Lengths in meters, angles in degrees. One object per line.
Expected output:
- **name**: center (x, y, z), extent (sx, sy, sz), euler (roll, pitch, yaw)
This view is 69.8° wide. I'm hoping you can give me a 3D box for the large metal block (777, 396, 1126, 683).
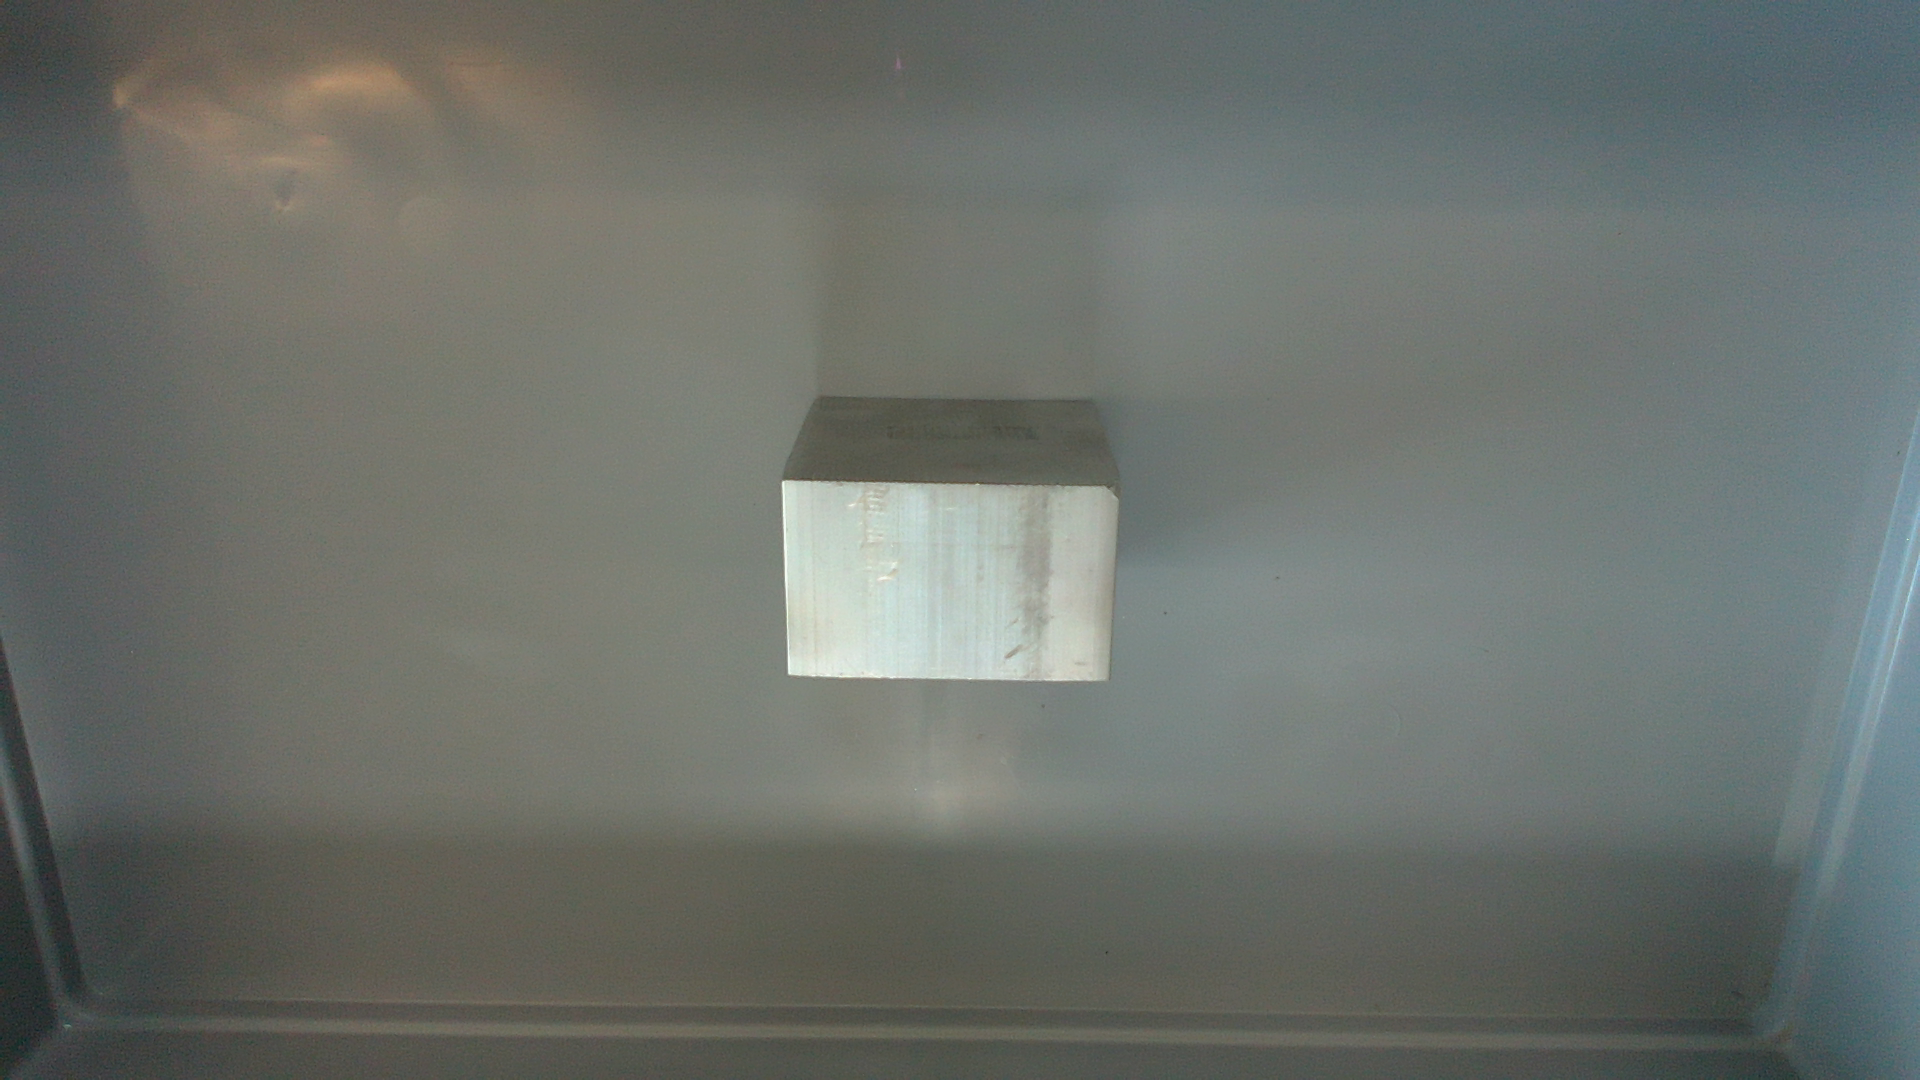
- **large metal block**: center (-0.002, -0.003, 0.361), extent (0.080, 0.080, 0.050), euler (1, 110, -1)
